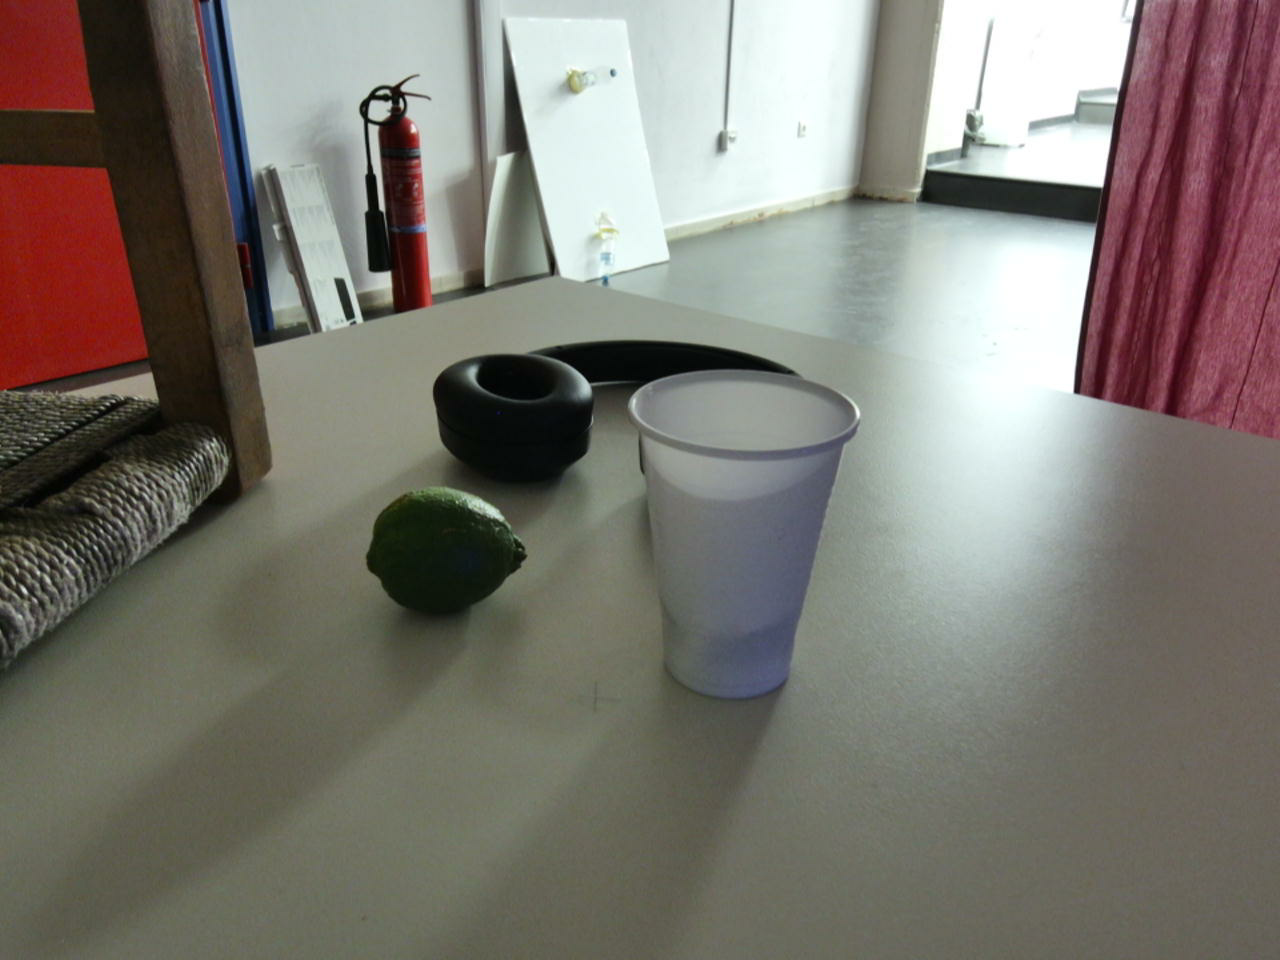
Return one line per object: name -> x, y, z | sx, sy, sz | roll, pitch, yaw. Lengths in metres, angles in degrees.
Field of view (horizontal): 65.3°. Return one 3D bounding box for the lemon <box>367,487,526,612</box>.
lemon -> -0.081, 0.027, 0.406 | 0.054, 0.051, 0.057 | 15, 27, 32
